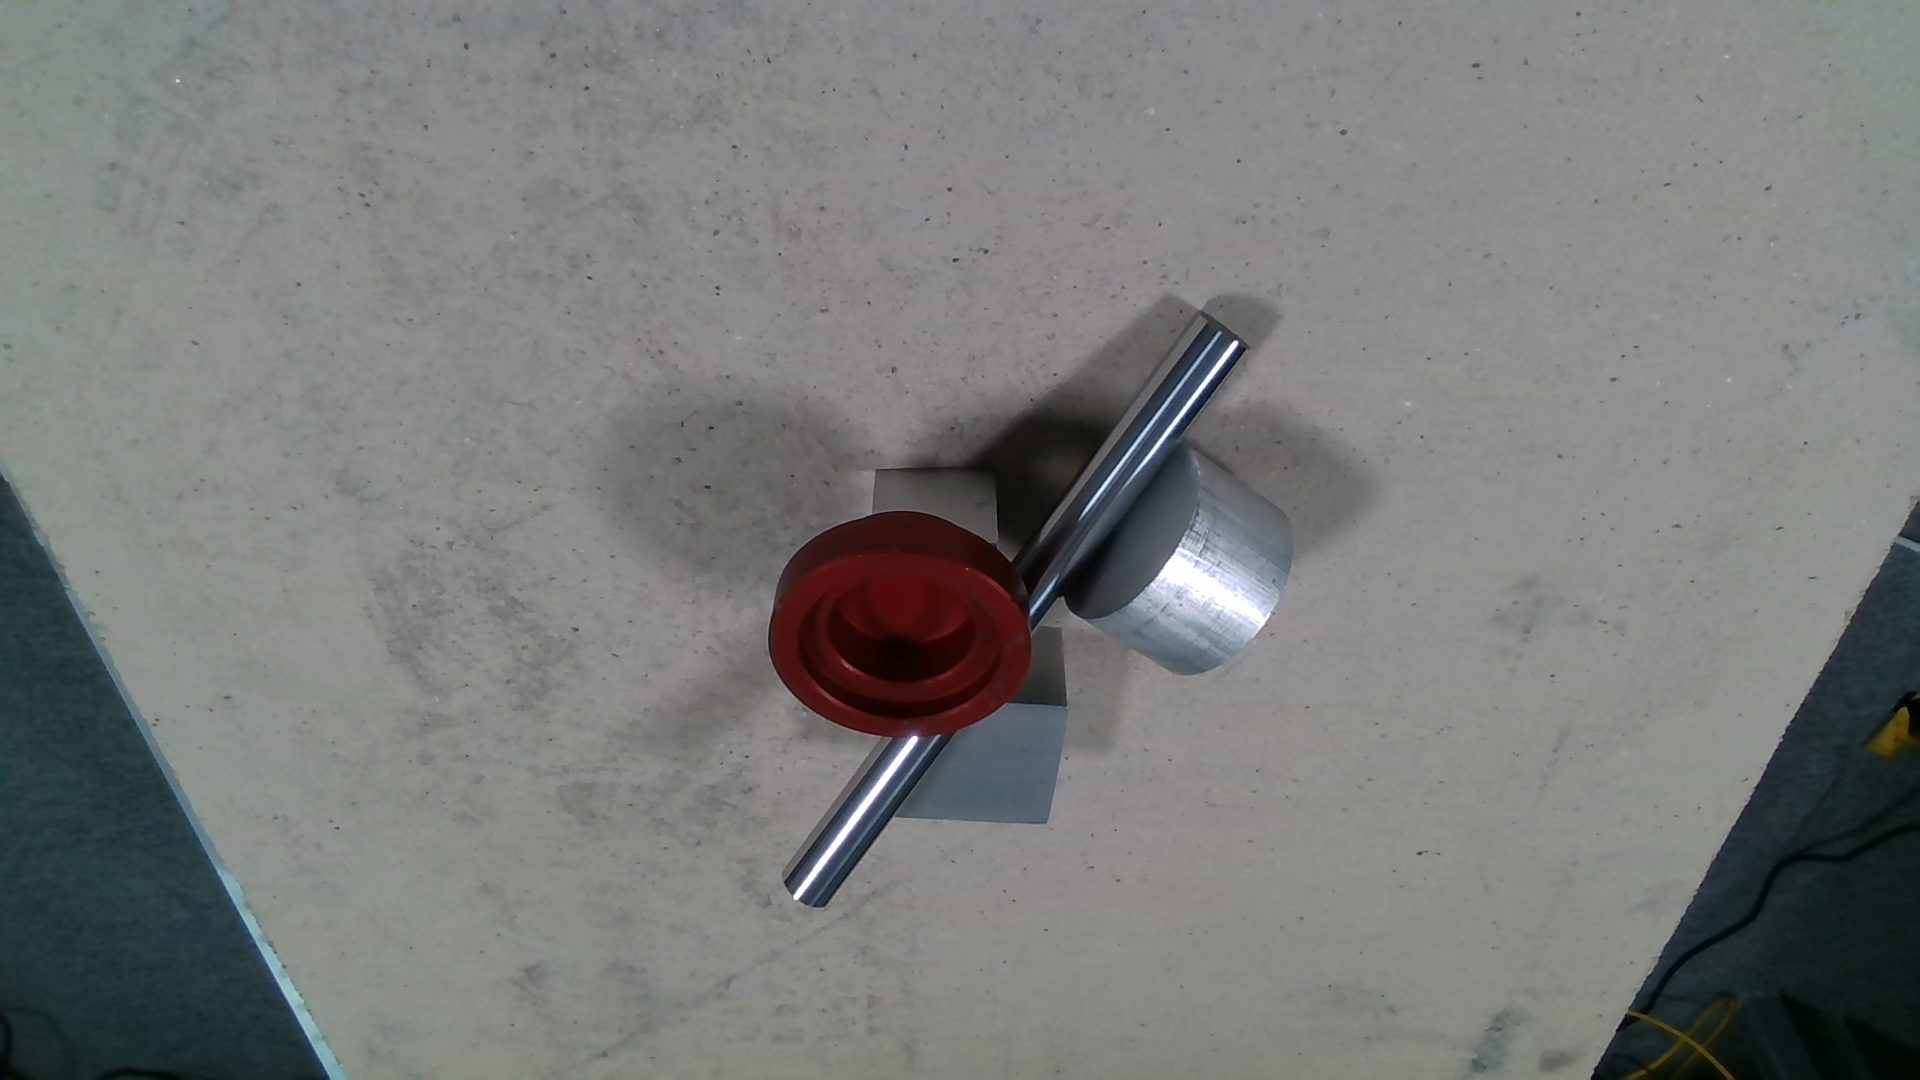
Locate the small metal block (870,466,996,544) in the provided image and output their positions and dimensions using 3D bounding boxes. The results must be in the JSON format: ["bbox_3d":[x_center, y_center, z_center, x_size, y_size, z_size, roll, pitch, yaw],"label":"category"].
[{"bbox_3d":[-0.010,-0.005,0.560,0.050,0.050,0.025,-2,130,1],"label":"small metal block"}]

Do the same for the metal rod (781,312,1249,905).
[{"bbox_3d":[0.015,0.037,0.562,0.025,0.025,0.300,28,111,-22],"label":"metal rod"}]

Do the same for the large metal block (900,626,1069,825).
[{"bbox_3d":[0.004,0.084,0.634,0.080,0.050,0.080,3,130,-3],"label":"large metal block"}]

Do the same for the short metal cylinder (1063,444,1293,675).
[{"bbox_3d":[0.085,0.007,0.550,0.050,0.080,0.080,30,124,-23],"label":"short metal cylinder"}]

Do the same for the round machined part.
[{"bbox_3d":[-0.022,0.028,0.527,0.098,0.042,0.098,1,130,1],"label":"round machined part"}]
